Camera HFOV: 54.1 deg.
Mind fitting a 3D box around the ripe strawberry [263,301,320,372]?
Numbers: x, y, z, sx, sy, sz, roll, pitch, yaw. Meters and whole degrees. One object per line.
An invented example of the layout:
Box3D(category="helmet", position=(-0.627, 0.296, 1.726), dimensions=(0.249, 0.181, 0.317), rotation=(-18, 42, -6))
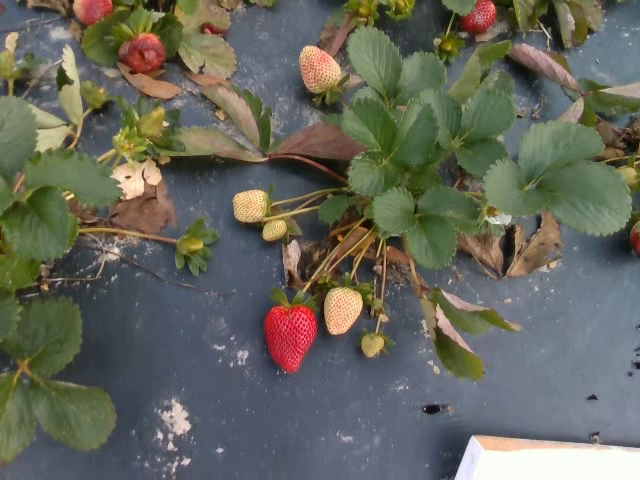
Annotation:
Box3D(category="ripe strawberry", position=(-0.023, 0.075, 0.475), dimensions=(0.050, 0.059, 0.034), rotation=(0, -31, -10))
